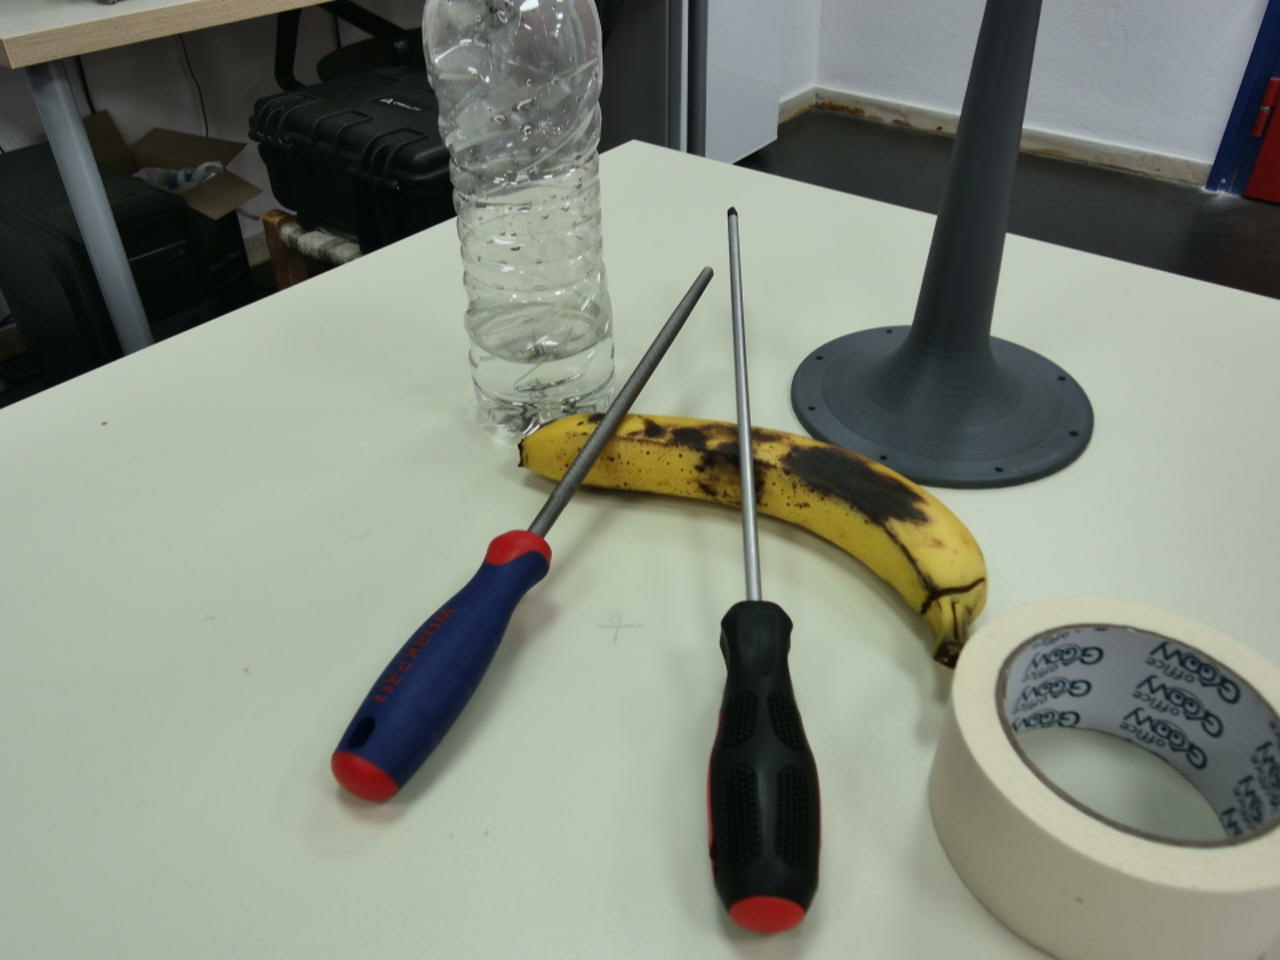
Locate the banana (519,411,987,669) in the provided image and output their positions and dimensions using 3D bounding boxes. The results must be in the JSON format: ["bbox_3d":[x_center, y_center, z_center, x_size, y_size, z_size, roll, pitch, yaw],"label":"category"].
[{"bbox_3d":[0.052,0.006,0.428,0.222,0.037,0.084,26,44,32],"label":"banana"}]
